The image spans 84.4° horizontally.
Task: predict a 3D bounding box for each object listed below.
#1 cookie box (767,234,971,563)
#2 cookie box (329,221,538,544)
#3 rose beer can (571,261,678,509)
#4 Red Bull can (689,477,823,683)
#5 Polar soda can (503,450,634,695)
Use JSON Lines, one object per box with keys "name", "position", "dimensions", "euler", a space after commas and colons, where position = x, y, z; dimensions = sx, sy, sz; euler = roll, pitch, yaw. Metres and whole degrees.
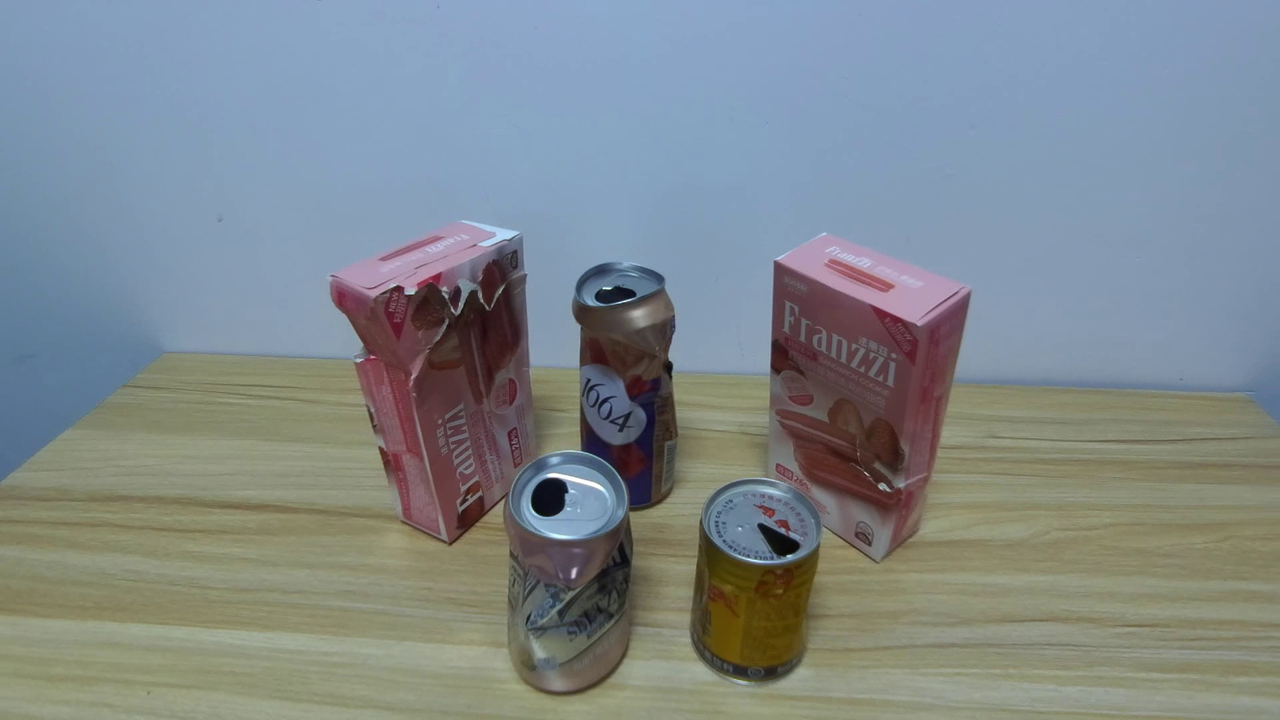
{"name": "cookie box", "position": [0.131, 0.030, 0.424], "dimensions": [0.049, 0.188, 0.104], "euler": [-29, 42, -28]}
{"name": "cookie box", "position": [-0.115, 0.017, 0.449], "dimensions": [0.059, 0.186, 0.105], "euler": [18, 38, 30]}
{"name": "rose beer can", "position": [-0.009, 0.020, 0.461], "dimensions": [0.073, 0.162, 0.068], "euler": [6, 34, 13]}
{"name": "Red Bull can", "position": [0.061, 0.117, 0.373], "dimensions": [0.069, 0.092, 0.069], "euler": [0, 32, 0]}
{"name": "Polar soda can", "position": [-0.035, 0.113, 0.361], "dimensions": [0.067, 0.122, 0.071], "euler": [-1, 32, -9]}
